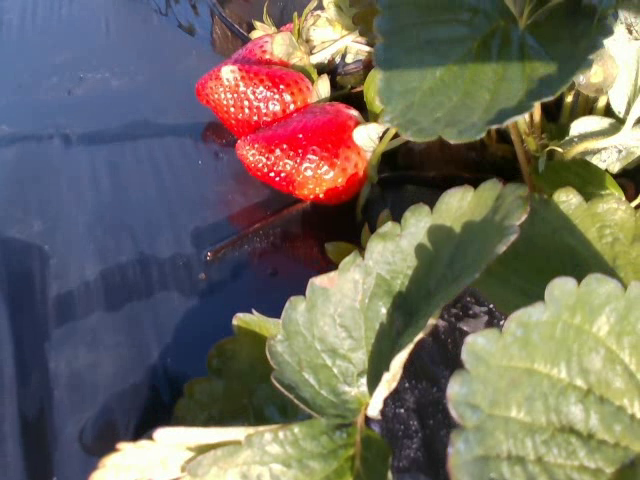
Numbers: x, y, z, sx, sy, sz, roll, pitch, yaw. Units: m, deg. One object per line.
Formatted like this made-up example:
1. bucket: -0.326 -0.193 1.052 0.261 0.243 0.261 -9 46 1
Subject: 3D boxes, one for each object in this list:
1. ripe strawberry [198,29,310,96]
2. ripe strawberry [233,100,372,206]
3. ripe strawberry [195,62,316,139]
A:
1. ripe strawberry: -0.027 -0.062 0.224 0.045 0.023 0.032 -22 46 -3
2. ripe strawberry: -0.010 -0.026 0.183 0.041 0.034 0.035 4 36 -30
3. ripe strawberry: -0.020 -0.048 0.200 0.039 0.031 0.036 22 -51 -32
